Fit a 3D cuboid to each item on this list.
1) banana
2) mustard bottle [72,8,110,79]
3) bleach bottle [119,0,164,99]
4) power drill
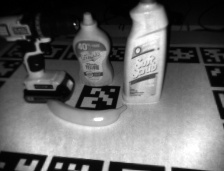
[{"bbox_3d":[-0.066,0.044,0.510,0.196,0.039,0.074,3,46,10],"label":"banana"},{"bbox_3d":[-0.057,-0.106,0.566,0.096,0.192,0.058,2,42,7],"label":"mustard bottle"},{"bbox_3d":[0.062,-0.079,0.495,0.102,0.252,0.067,-4,43,1],"label":"bleach bottle"},{"bbox_3d":[-0.167,-0.083,0.520,0.184,0.188,0.057,1,35,3],"label":"power drill"}]
